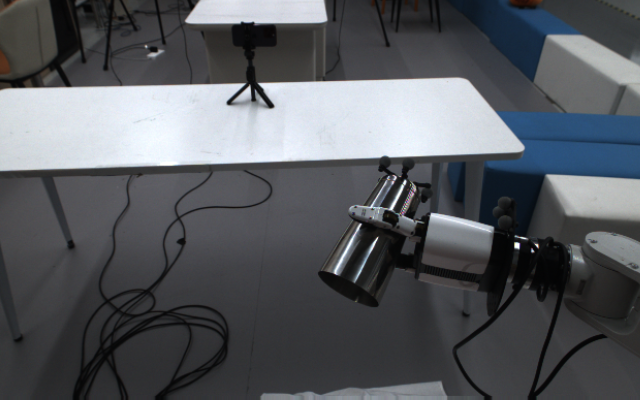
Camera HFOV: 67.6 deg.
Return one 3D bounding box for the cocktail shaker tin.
[{"bbox_3d":[0.080,0.047,0.670,0.093,0.093,0.170,19,67,23],"label":"cocktail shaker tin"}]
